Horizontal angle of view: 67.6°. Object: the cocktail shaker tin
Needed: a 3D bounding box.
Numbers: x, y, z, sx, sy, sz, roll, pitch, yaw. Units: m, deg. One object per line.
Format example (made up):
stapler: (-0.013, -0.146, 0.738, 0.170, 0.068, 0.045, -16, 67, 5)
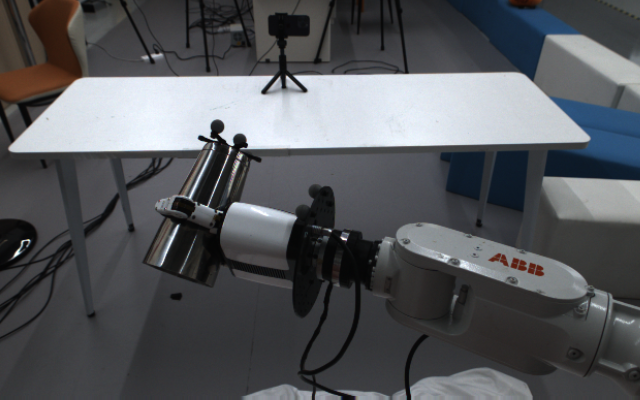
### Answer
cocktail shaker tin: (-0.148, 0.017, 0.620, 0.093, 0.093, 0.170, 14, 73, 16)
